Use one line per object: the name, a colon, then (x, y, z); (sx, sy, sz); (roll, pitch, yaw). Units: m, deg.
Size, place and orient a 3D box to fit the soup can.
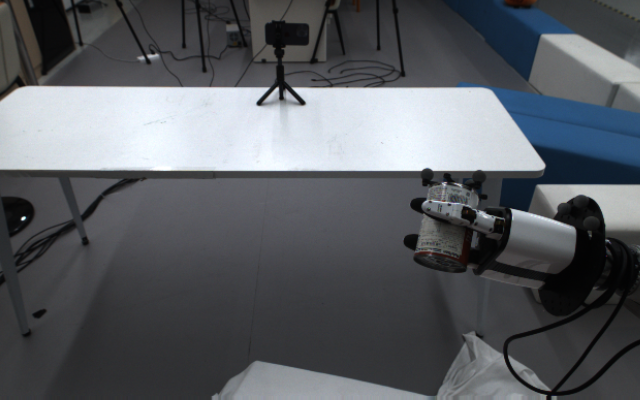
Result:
soup can: (0.167, 0.035, 0.630); (0.067, 0.067, 0.101); (11, 72, 13)
